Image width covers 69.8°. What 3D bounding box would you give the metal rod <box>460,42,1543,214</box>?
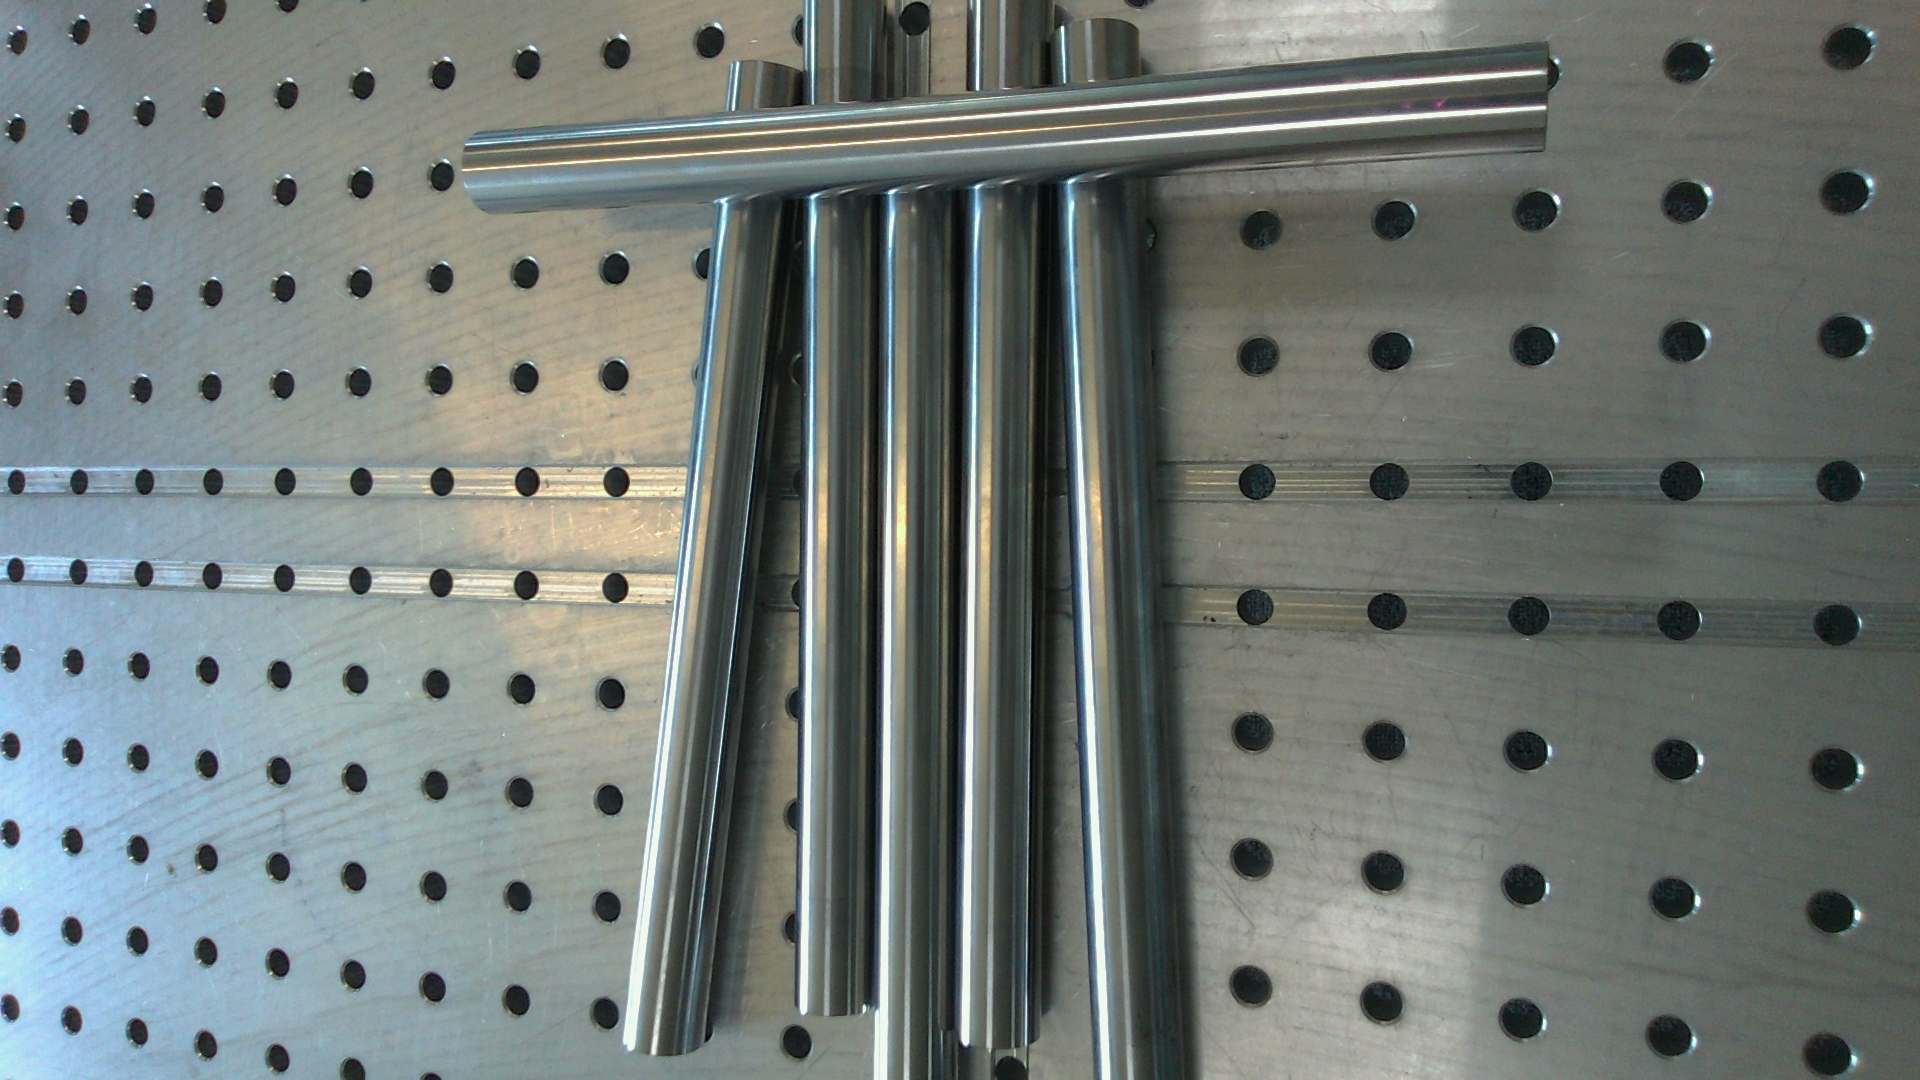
[{"bbox_3d":[-0.005,-0.108,0.373,0.299,0.025,0.025,2,91,20],"label":"metal rod"}]

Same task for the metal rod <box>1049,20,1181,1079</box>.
[{"bbox_3d":[0.043,0.009,0.383,0.025,0.025,0.300,-3,89,20],"label":"metal rod"}]

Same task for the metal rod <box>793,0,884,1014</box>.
[{"bbox_3d":[-0.036,-0.012,0.412,0.025,0.025,0.300,1,90,20],"label":"metal rod"}]

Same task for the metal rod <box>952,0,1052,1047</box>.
[{"bbox_3d":[0.012,-0.009,0.395,0.025,0.025,0.300,1,90,20],"label":"metal rod"}]

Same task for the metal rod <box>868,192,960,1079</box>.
[{"bbox_3d":[-0.013,0.044,0.403,0.025,0.025,0.300,1,91,20],"label":"metal rod"}]

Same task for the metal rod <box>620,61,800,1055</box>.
[{"bbox_3d":[-0.076,0.007,0.425,0.025,0.025,0.300,8,93,20],"label":"metal rod"}]
